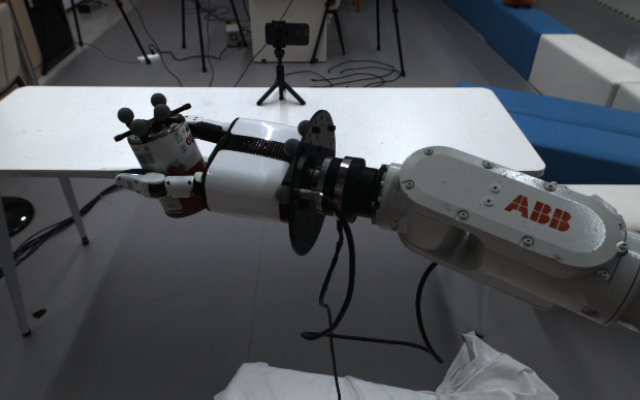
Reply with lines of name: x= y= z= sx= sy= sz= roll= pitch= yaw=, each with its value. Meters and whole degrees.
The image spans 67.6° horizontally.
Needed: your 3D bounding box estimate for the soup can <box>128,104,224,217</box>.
soup can: x=-0.166 y=-0.038 z=0.558 sx=0.067 sy=0.101 sz=0.067 roll=-13 pitch=31 yaw=8
